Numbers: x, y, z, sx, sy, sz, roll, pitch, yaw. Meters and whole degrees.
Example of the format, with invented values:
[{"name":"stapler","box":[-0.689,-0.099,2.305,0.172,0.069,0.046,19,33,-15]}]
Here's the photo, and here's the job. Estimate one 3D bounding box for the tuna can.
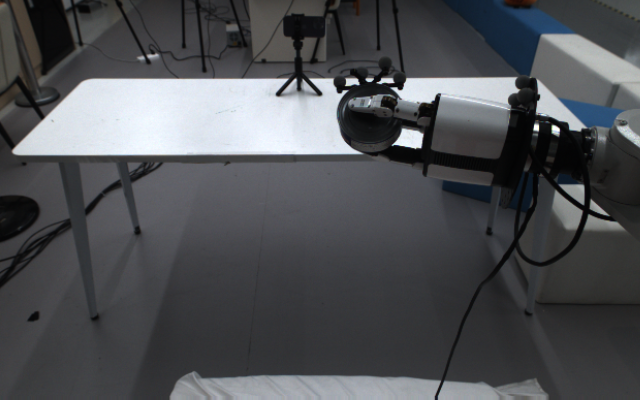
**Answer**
[{"name":"tuna can","box":[0.066,-0.107,0.629,0.085,0.034,0.085,-2,69,6]}]
